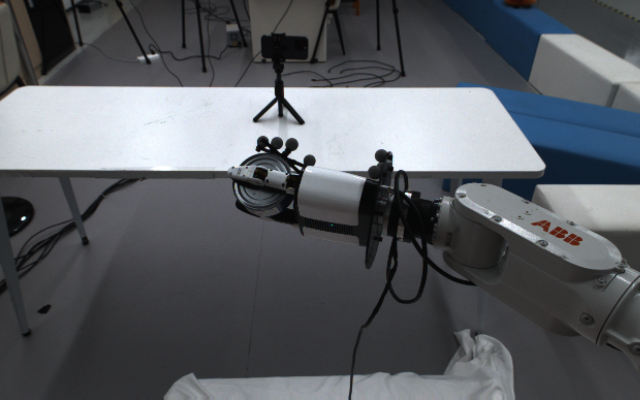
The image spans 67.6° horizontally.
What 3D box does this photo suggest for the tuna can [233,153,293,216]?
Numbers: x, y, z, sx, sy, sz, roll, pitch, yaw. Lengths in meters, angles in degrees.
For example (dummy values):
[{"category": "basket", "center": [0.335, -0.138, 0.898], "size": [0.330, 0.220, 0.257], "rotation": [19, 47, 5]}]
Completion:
[{"category": "tuna can", "center": [-0.076, -0.022, 0.680], "size": [0.085, 0.034, 0.085], "rotation": [-4, 67, 10]}]
